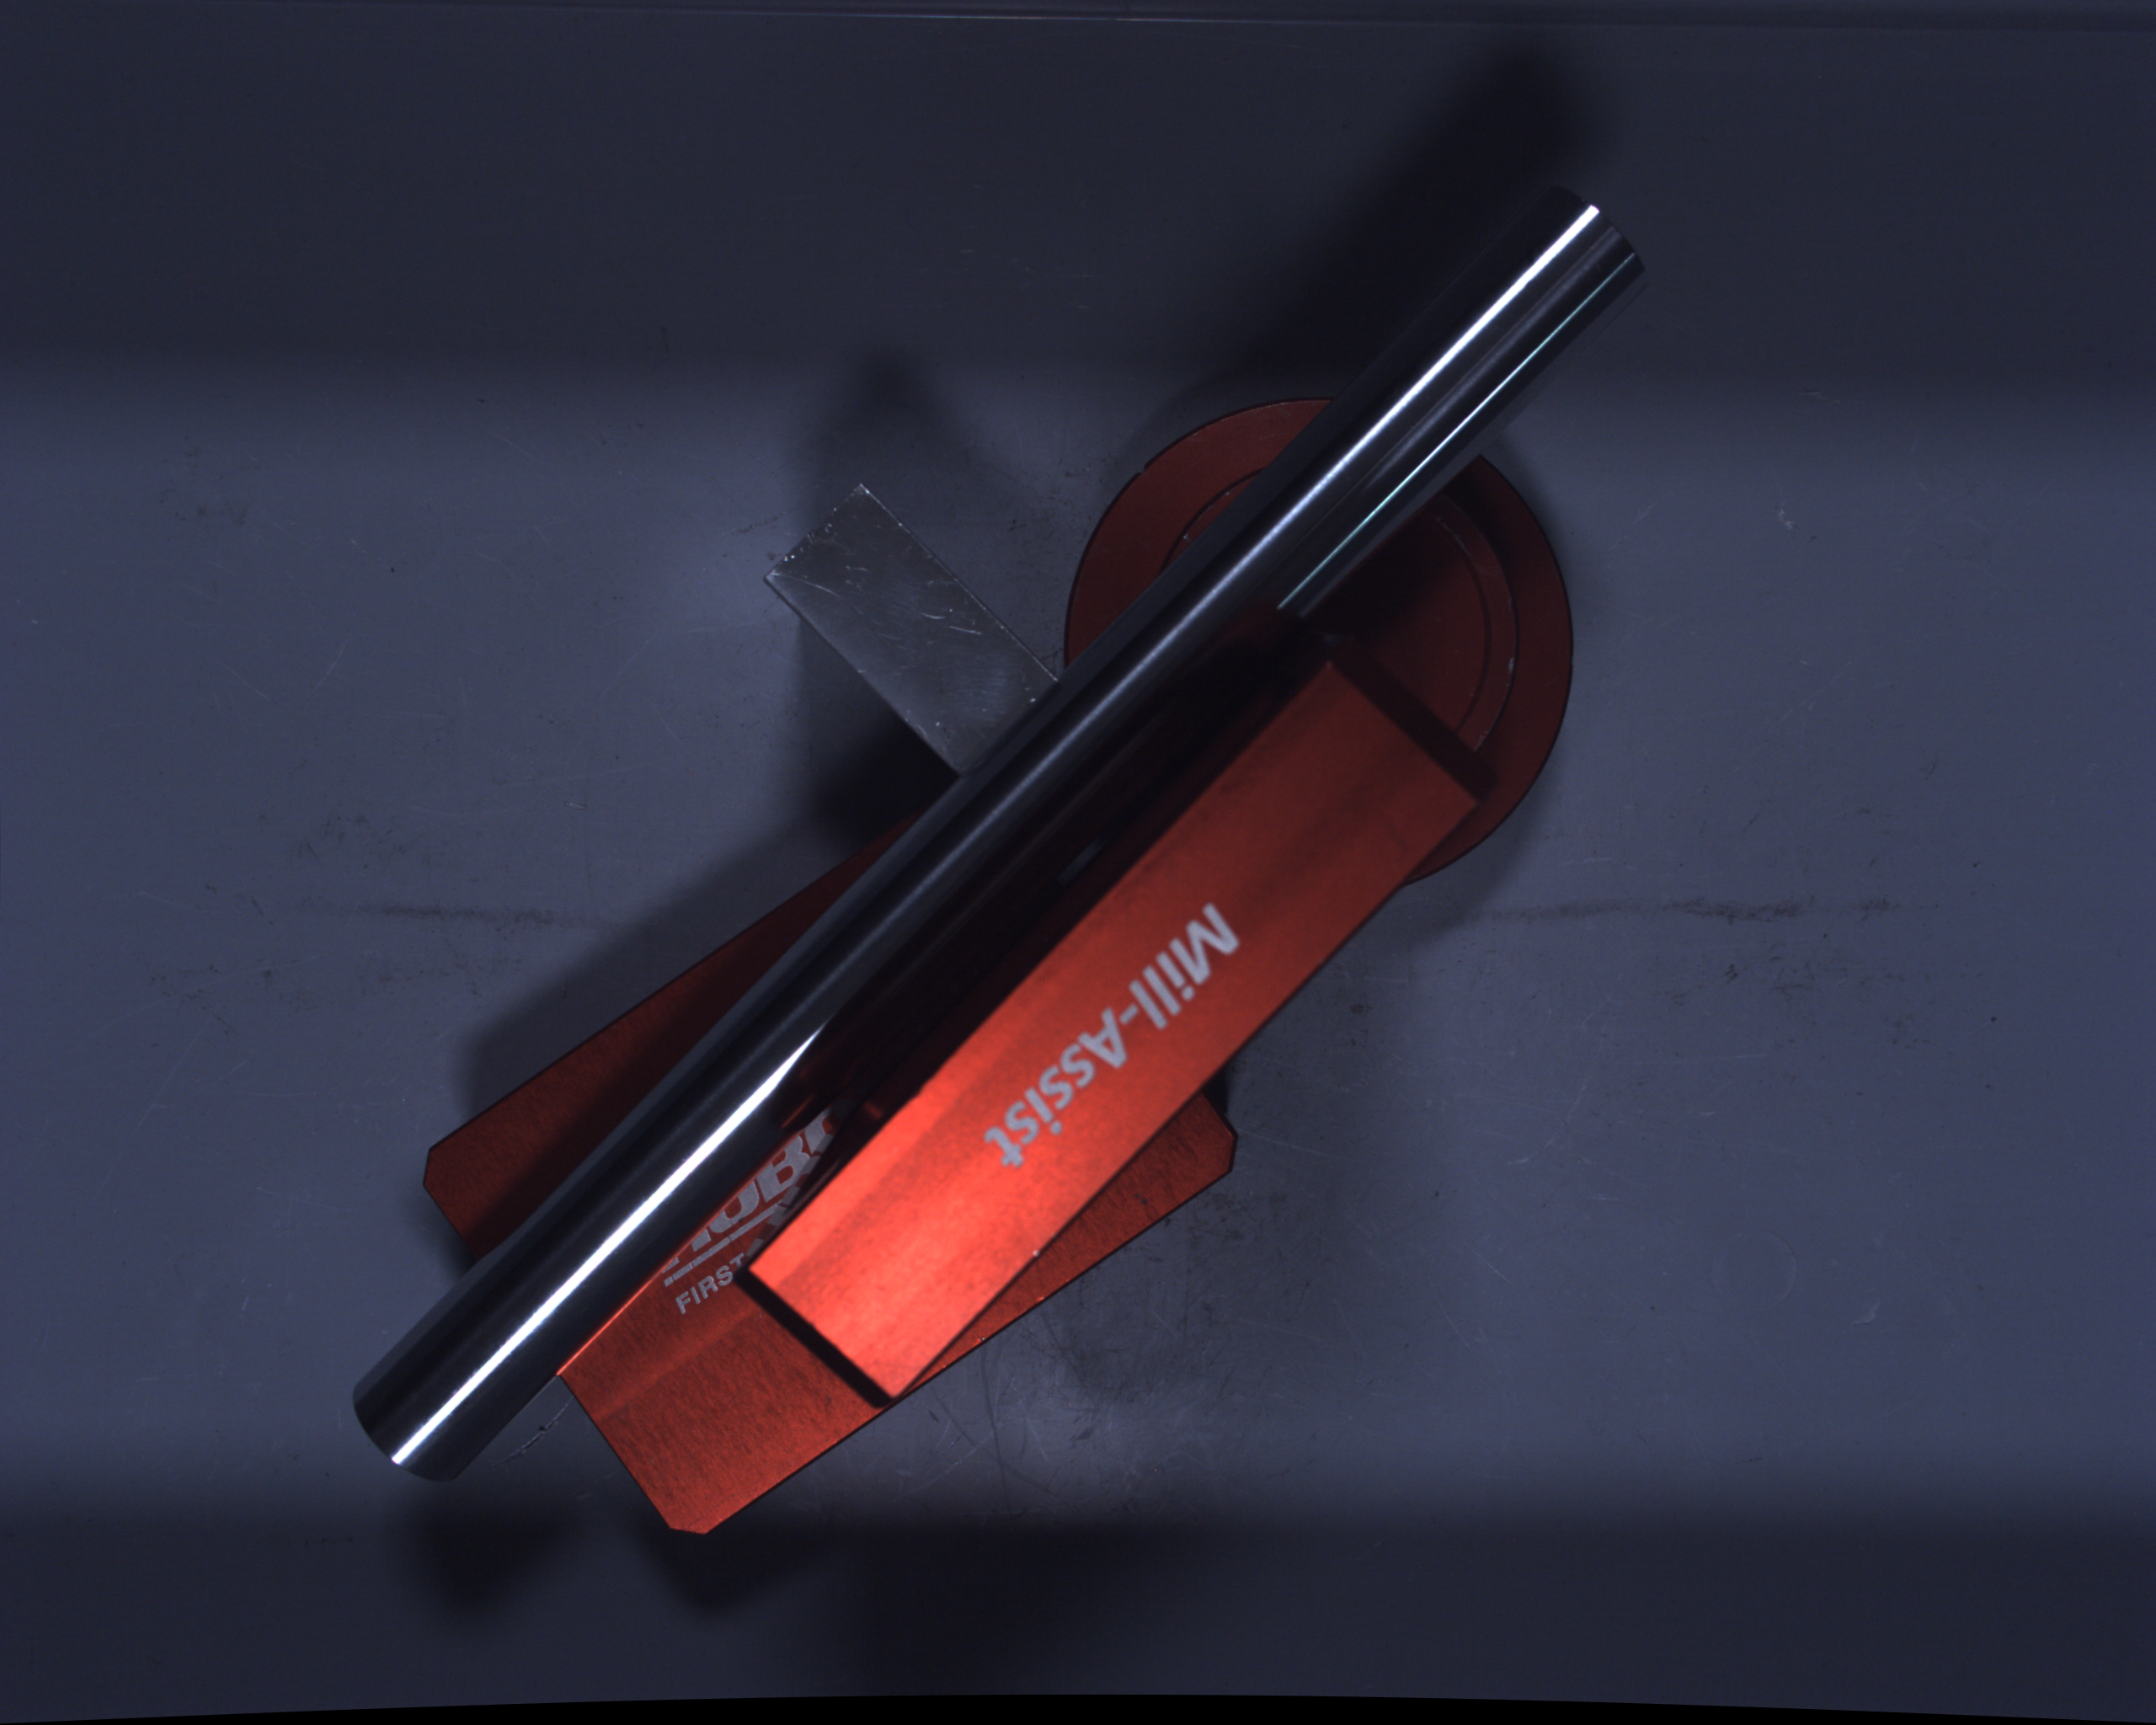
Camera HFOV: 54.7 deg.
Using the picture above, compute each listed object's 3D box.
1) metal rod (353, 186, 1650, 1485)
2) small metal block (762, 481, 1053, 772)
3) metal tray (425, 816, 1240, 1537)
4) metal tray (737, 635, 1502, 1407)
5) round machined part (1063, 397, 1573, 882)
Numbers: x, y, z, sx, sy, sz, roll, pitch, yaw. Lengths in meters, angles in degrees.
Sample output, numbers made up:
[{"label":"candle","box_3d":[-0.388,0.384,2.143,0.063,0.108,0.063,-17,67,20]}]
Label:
[{"label":"metal rod","box_3d":[-0.016,-0.002,0.371,0.025,0.025,0.300,45,94,-1]},{"label":"small metal block","box_3d":[-0.030,-0.042,0.397,0.025,0.050,0.050,-45,91,0]},{"label":"metal tray","box_3d":[-0.046,0.056,0.407,0.130,0.030,0.090,-35,90,-1]},{"label":"metal tray","box_3d":[0.006,0.020,0.340,0.030,0.090,0.130,43,96,-3]},{"label":"round machined part","box_3d":[0.046,-0.041,0.402,0.099,0.042,0.097,0,90,-1]}]
